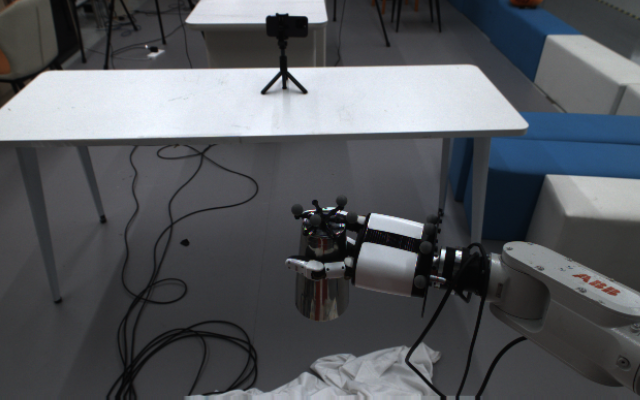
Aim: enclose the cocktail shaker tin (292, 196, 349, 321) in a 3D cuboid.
[{"bbox_3d":[0.008,0.097,0.764,0.093,0.170,0.093,1,39,-1],"label":"cocktail shaker tin"}]
